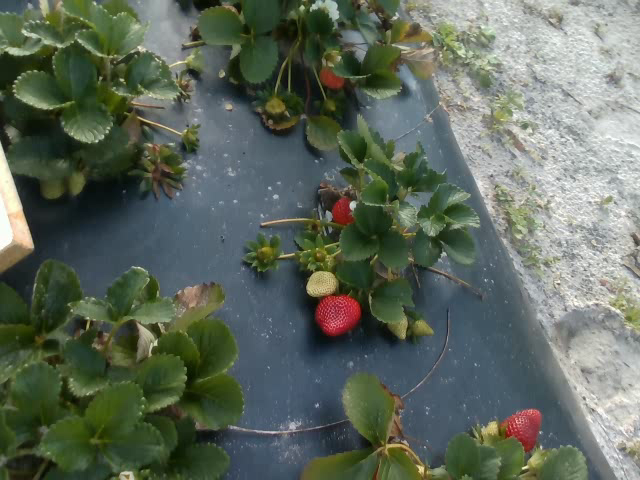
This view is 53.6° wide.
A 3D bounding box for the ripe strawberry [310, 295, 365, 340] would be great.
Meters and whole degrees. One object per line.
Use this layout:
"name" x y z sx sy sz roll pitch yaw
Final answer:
"ripe strawberry" 0.013 0.081 0.648 0.051 0.048 0.055 -1 18 20
